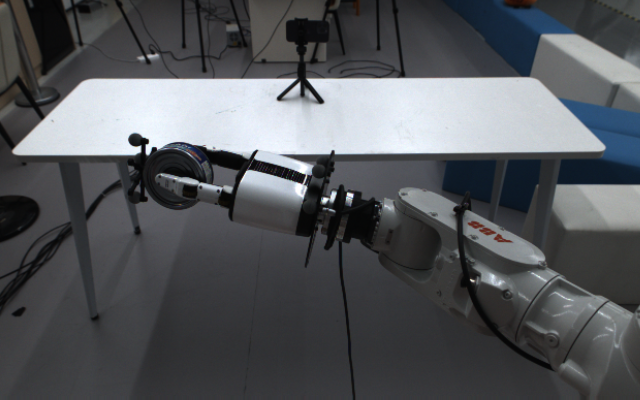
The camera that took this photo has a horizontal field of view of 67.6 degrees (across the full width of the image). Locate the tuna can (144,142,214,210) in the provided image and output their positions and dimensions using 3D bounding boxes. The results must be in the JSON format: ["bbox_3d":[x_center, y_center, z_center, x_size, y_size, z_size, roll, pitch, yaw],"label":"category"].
[{"bbox_3d":[-0.184,-0.028,0.634,0.085,0.085,0.034,4,19,3],"label":"tuna can"}]
